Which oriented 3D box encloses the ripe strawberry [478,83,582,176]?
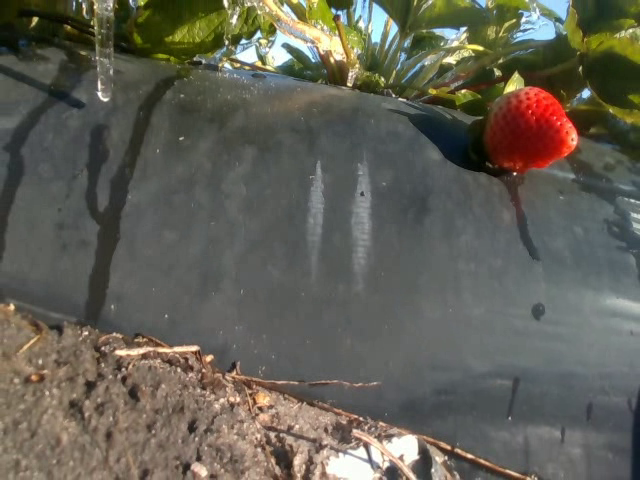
[{"bbox_3d":[0.093,-0.046,0.262,0.039,0.041,0.053,-1,23,-14],"label":"ripe strawberry"}]
